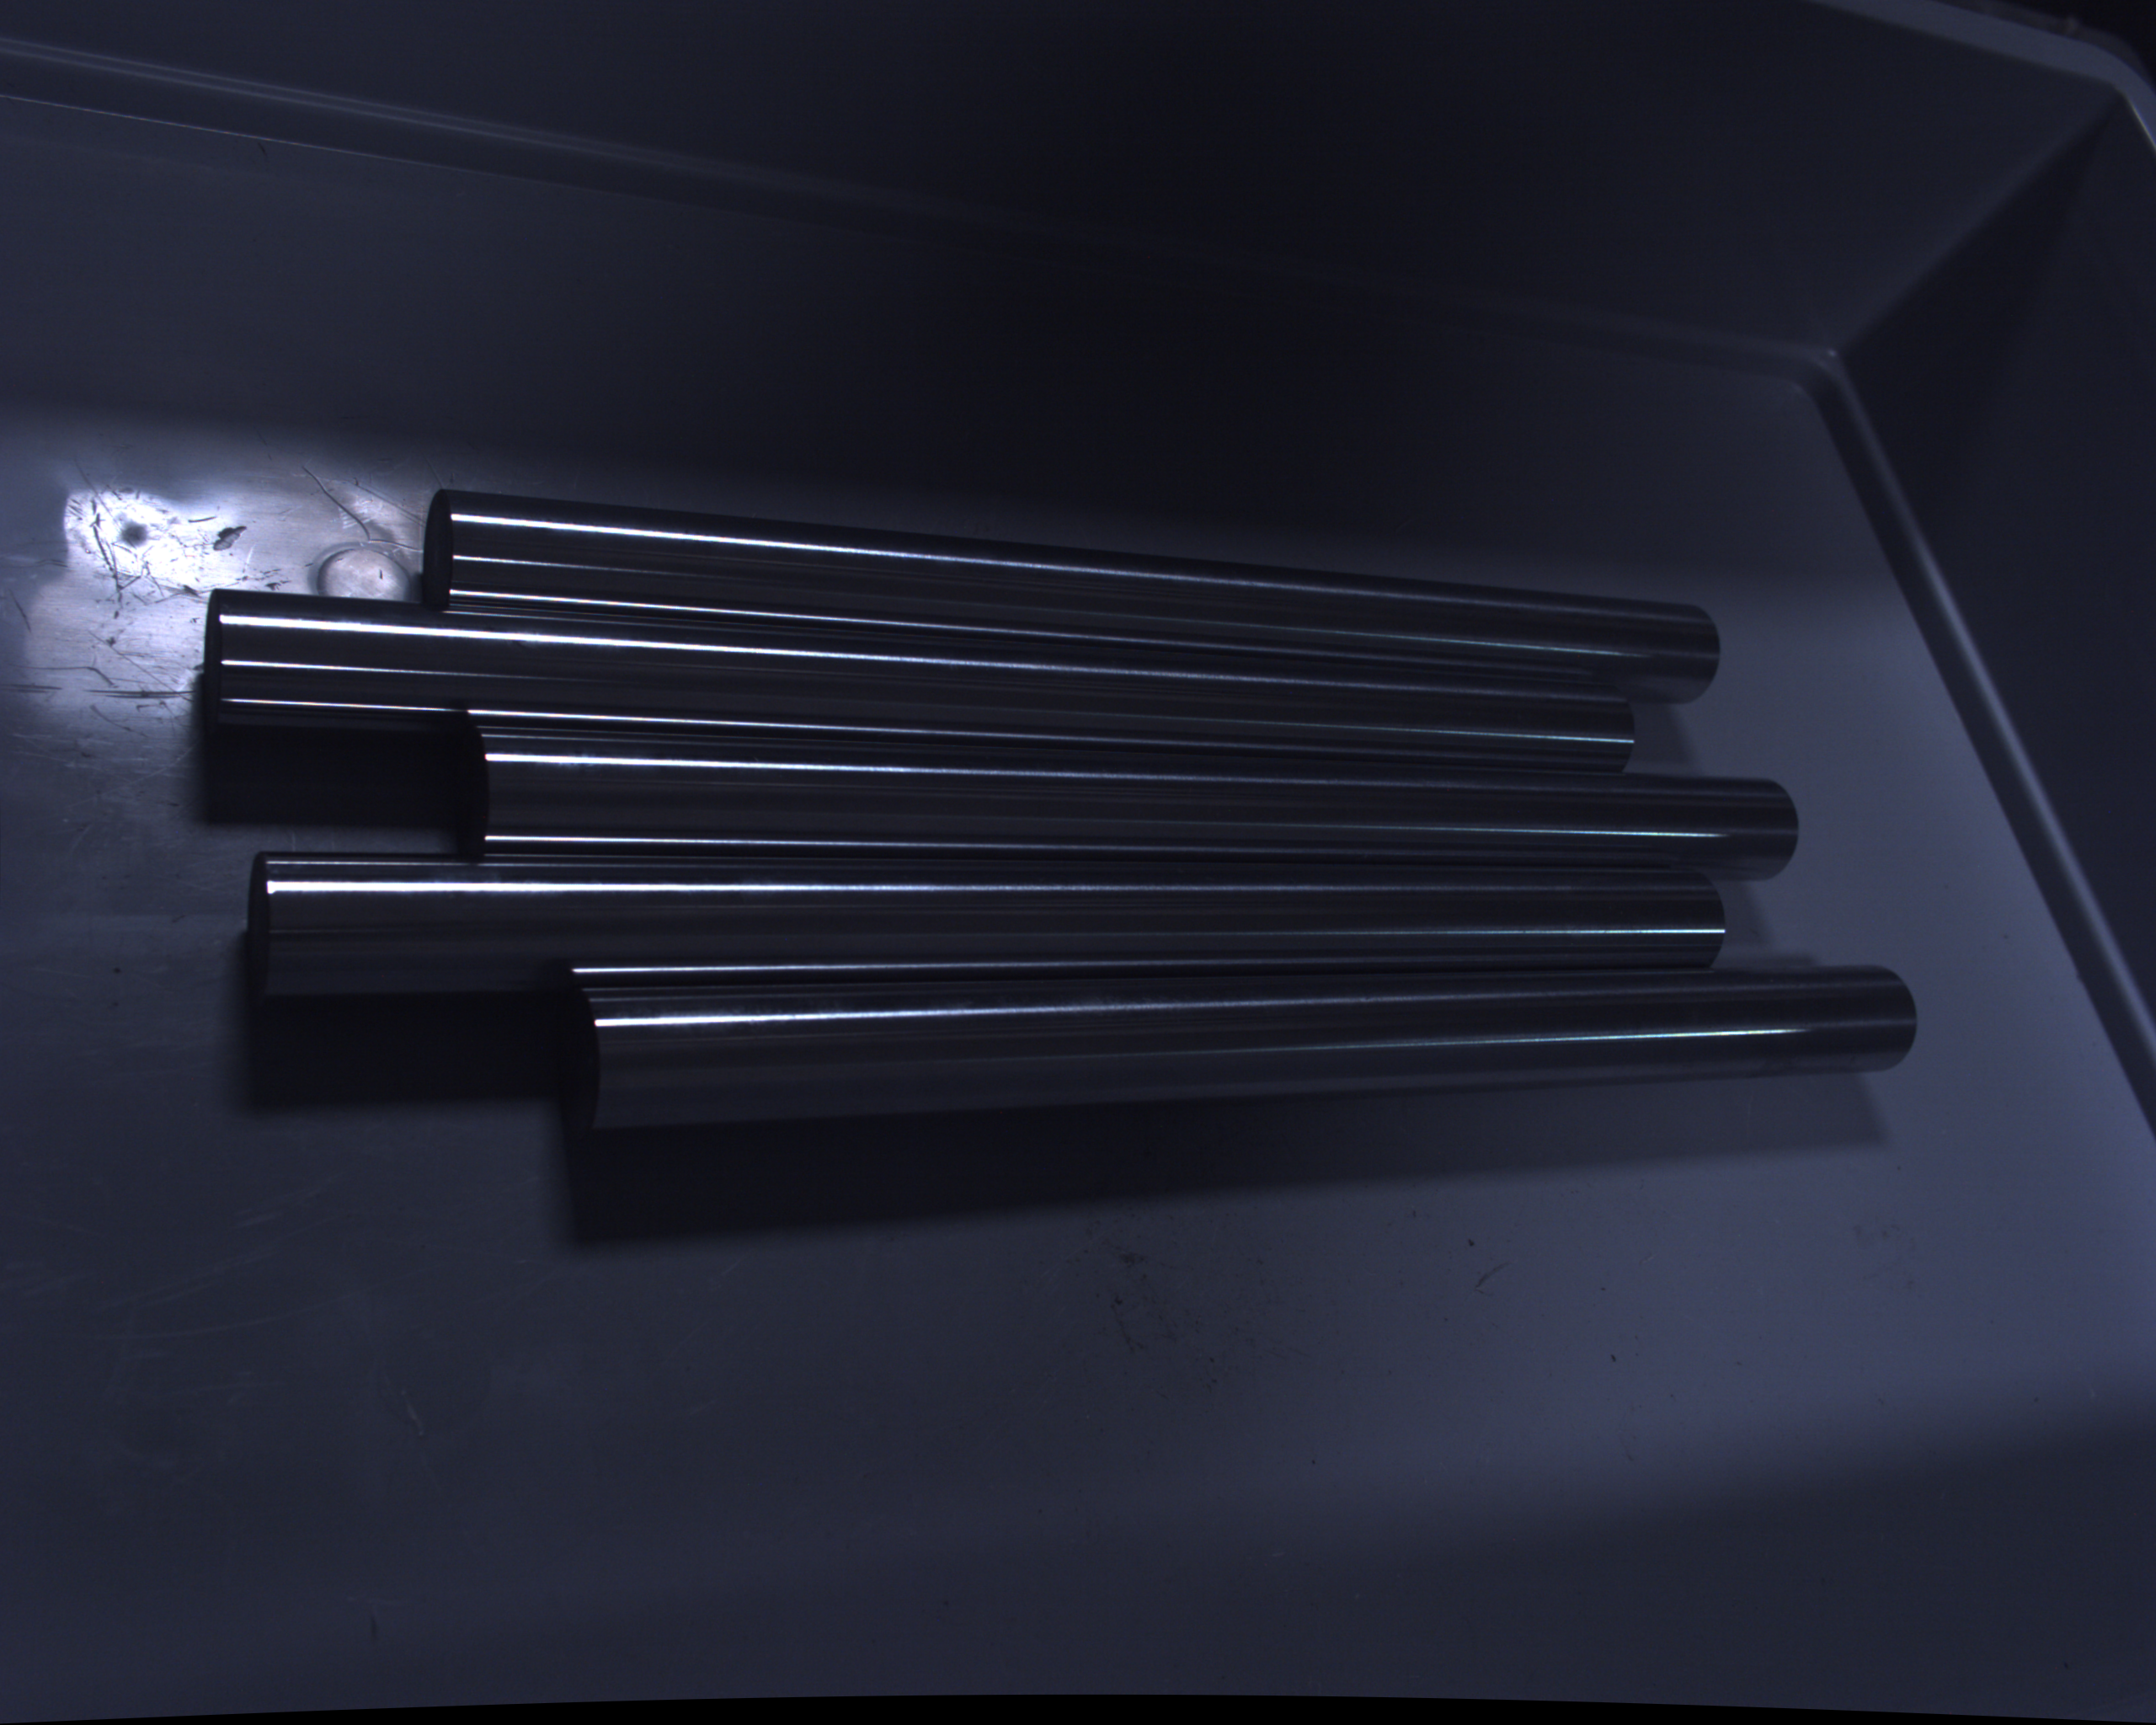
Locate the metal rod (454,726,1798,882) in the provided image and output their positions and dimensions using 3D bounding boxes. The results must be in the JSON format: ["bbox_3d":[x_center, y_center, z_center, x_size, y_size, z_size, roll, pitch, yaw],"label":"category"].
[{"bbox_3d":[0.029,-0.009,0.427,0.303,0.025,0.025,1,62,-28],"label":"metal rod"}]

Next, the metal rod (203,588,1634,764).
[{"bbox_3d":[-0.011,-0.032,0.419,0.303,0.025,0.025,1,62,-28],"label":"metal rod"}]

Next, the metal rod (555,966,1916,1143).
[{"bbox_3d":[0.051,0.035,0.412,0.303,0.025,0.025,1,62,-28],"label":"metal rod"}]

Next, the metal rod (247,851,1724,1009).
[{"bbox_3d":[0.004,0.012,0.400,0.303,0.025,0.025,1,62,-28],"label":"metal rod"}]

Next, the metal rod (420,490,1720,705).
[{"bbox_3d":[0.017,-0.053,0.447,0.303,0.025,0.025,1,62,-28],"label":"metal rod"}]
